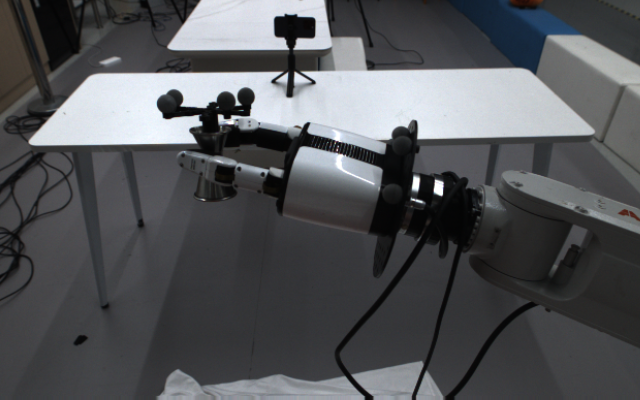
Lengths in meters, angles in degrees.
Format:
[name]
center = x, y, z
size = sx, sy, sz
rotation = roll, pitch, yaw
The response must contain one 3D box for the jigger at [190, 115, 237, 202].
[jigger]
center = -0.106, -0.037, 0.484
size = 0.043, 0.071, 0.043
rotation = 0, 21, 0
